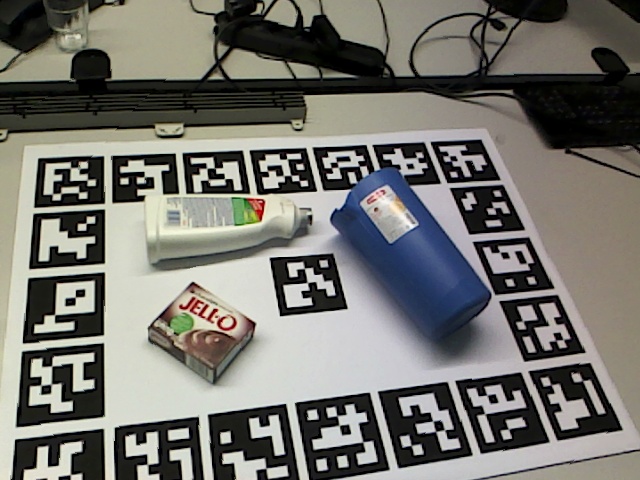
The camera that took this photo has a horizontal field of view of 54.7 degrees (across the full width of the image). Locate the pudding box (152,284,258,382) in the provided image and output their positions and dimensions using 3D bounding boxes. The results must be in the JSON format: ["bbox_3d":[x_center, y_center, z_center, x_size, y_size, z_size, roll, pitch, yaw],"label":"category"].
[{"bbox_3d":[-0.156,0.125,0.839,0.114,0.038,0.090,34,50,13],"label":"pudding box"}]

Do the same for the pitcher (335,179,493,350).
[{"bbox_3d":[0.146,0.038,0.927,0.187,0.133,0.243,-2,51,-55],"label":"pitcher"}]

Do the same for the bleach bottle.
[{"bbox_3d":[-0.128,-0.023,0.945,0.250,0.068,0.103,-5,59,-16],"label":"bleach bottle"}]
